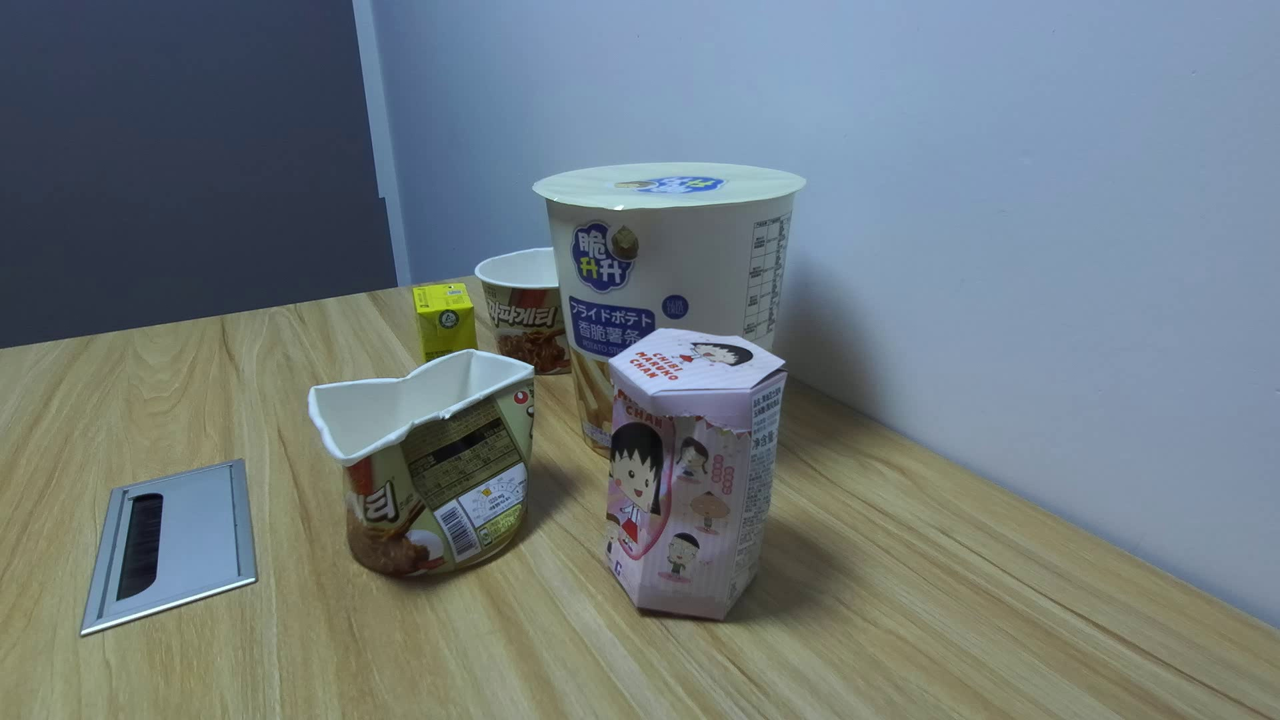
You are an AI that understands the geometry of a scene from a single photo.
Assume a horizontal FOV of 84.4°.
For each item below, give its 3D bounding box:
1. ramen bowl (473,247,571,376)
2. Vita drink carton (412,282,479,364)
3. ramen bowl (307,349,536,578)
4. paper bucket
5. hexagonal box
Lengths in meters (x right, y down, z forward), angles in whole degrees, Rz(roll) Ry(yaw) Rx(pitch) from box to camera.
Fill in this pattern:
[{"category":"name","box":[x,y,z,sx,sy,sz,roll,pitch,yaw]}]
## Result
[{"category":"ramen bowl","box":[-0.084,-0.049,0.693,0.140,0.095,0.140,-1,22,1]},{"category":"Vita drink carton","box":[-0.149,-0.001,0.563,0.044,0.109,0.066,-10,27,-17]},{"category":"ramen bowl","box":[-0.123,0.059,0.438,0.129,0.093,0.111,-16,27,-31]},{"category":"paper bucket","box":[0.023,-0.038,0.532,0.198,0.195,0.198,-2,23,1]},{"category":"hexagonal box","box":[0.028,0.059,0.382,0.090,0.134,0.091,7,24,11]}]
